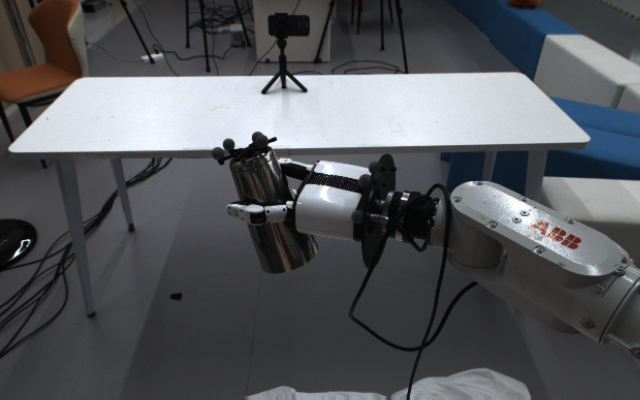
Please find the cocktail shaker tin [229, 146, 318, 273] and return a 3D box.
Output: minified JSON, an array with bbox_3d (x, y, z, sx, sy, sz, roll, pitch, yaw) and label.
[{"bbox_3d":[-0.073,0.011,0.711,0.093,0.170,0.093,-17,21,7],"label":"cocktail shaker tin"}]
